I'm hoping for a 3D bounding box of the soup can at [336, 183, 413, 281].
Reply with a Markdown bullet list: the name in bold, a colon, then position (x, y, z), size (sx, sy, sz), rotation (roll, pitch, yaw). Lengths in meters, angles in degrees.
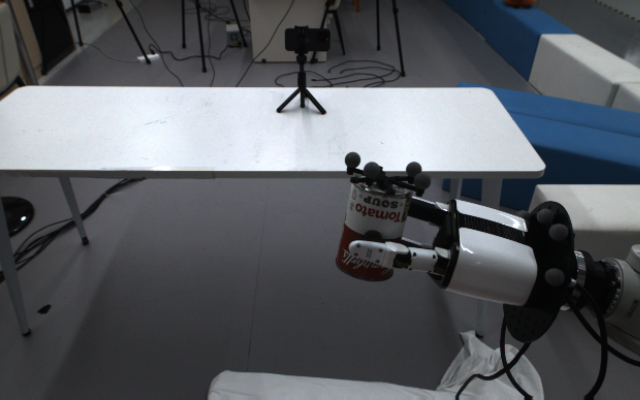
- **soup can**: position (0.061, 0.028, 0.537), size (0.067, 0.101, 0.067), rotation (9, 20, -3)
